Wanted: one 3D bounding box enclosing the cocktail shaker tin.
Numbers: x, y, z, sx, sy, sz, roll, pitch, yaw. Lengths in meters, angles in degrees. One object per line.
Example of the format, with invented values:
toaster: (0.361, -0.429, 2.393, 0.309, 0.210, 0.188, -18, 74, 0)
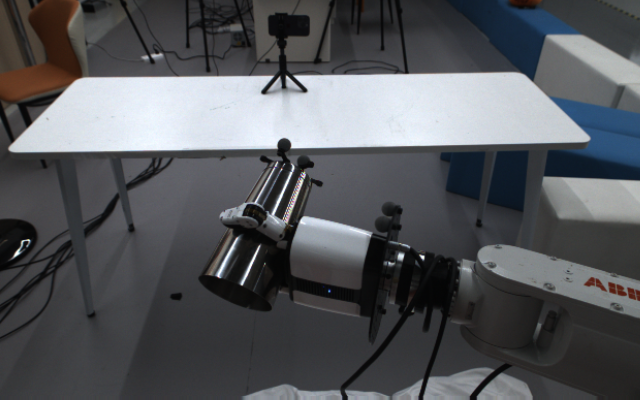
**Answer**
cocktail shaker tin: (-0.069, 0.039, 0.591, 0.093, 0.093, 0.170, 14, 61, 17)
